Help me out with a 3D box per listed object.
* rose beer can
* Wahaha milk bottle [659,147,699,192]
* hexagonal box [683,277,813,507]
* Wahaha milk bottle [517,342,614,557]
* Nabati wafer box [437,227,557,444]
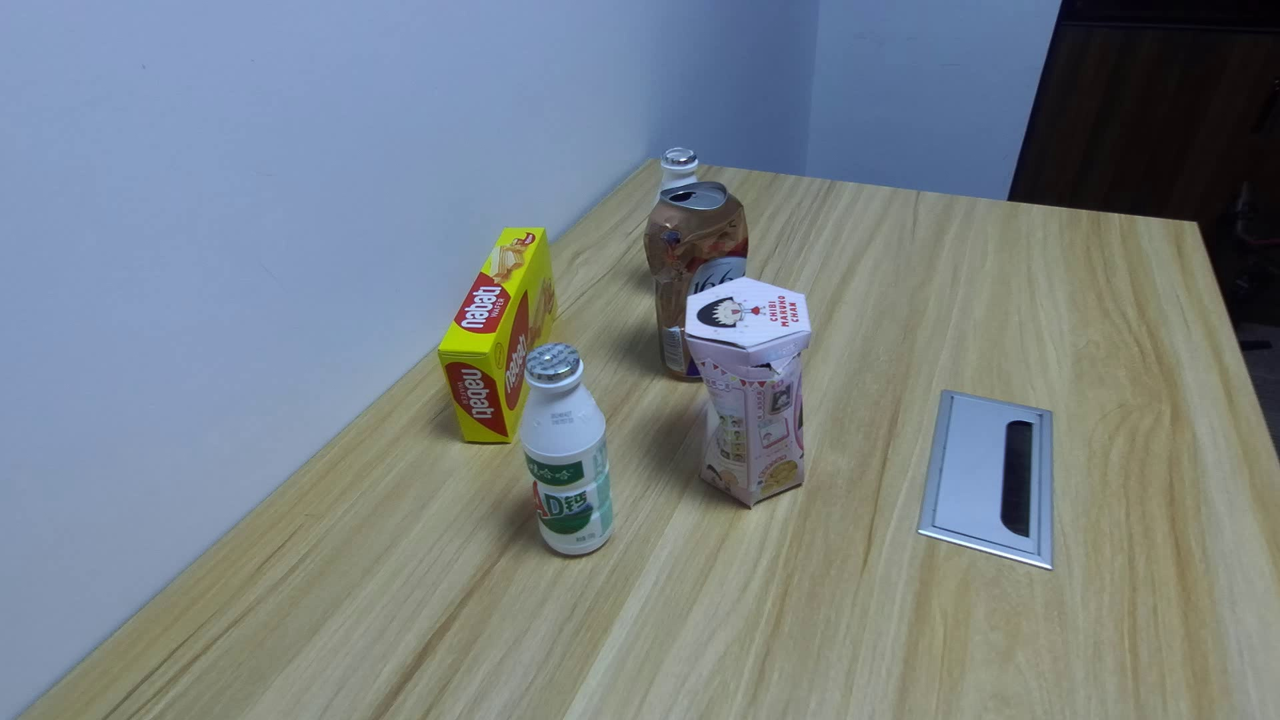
[{"bbox_3d":[0.048,-0.063,0.583,0.068,0.162,0.074,12,39,21],"label":"rose beer can"},{"bbox_3d":[0.045,-0.126,0.680,0.056,0.148,0.056,-5,31,3],"label":"Wahaha milk bottle"},{"bbox_3d":[0.074,0.024,0.490,0.091,0.135,0.089,-32,42,-31],"label":"hexagonal box"},{"bbox_3d":[-0.046,0.059,0.445,0.053,0.147,0.053,-3,37,3],"label":"Wahaha milk bottle"},{"bbox_3d":[-0.114,-0.030,0.615,0.042,0.093,0.202,0,37,7],"label":"Nabati wafer box"}]
